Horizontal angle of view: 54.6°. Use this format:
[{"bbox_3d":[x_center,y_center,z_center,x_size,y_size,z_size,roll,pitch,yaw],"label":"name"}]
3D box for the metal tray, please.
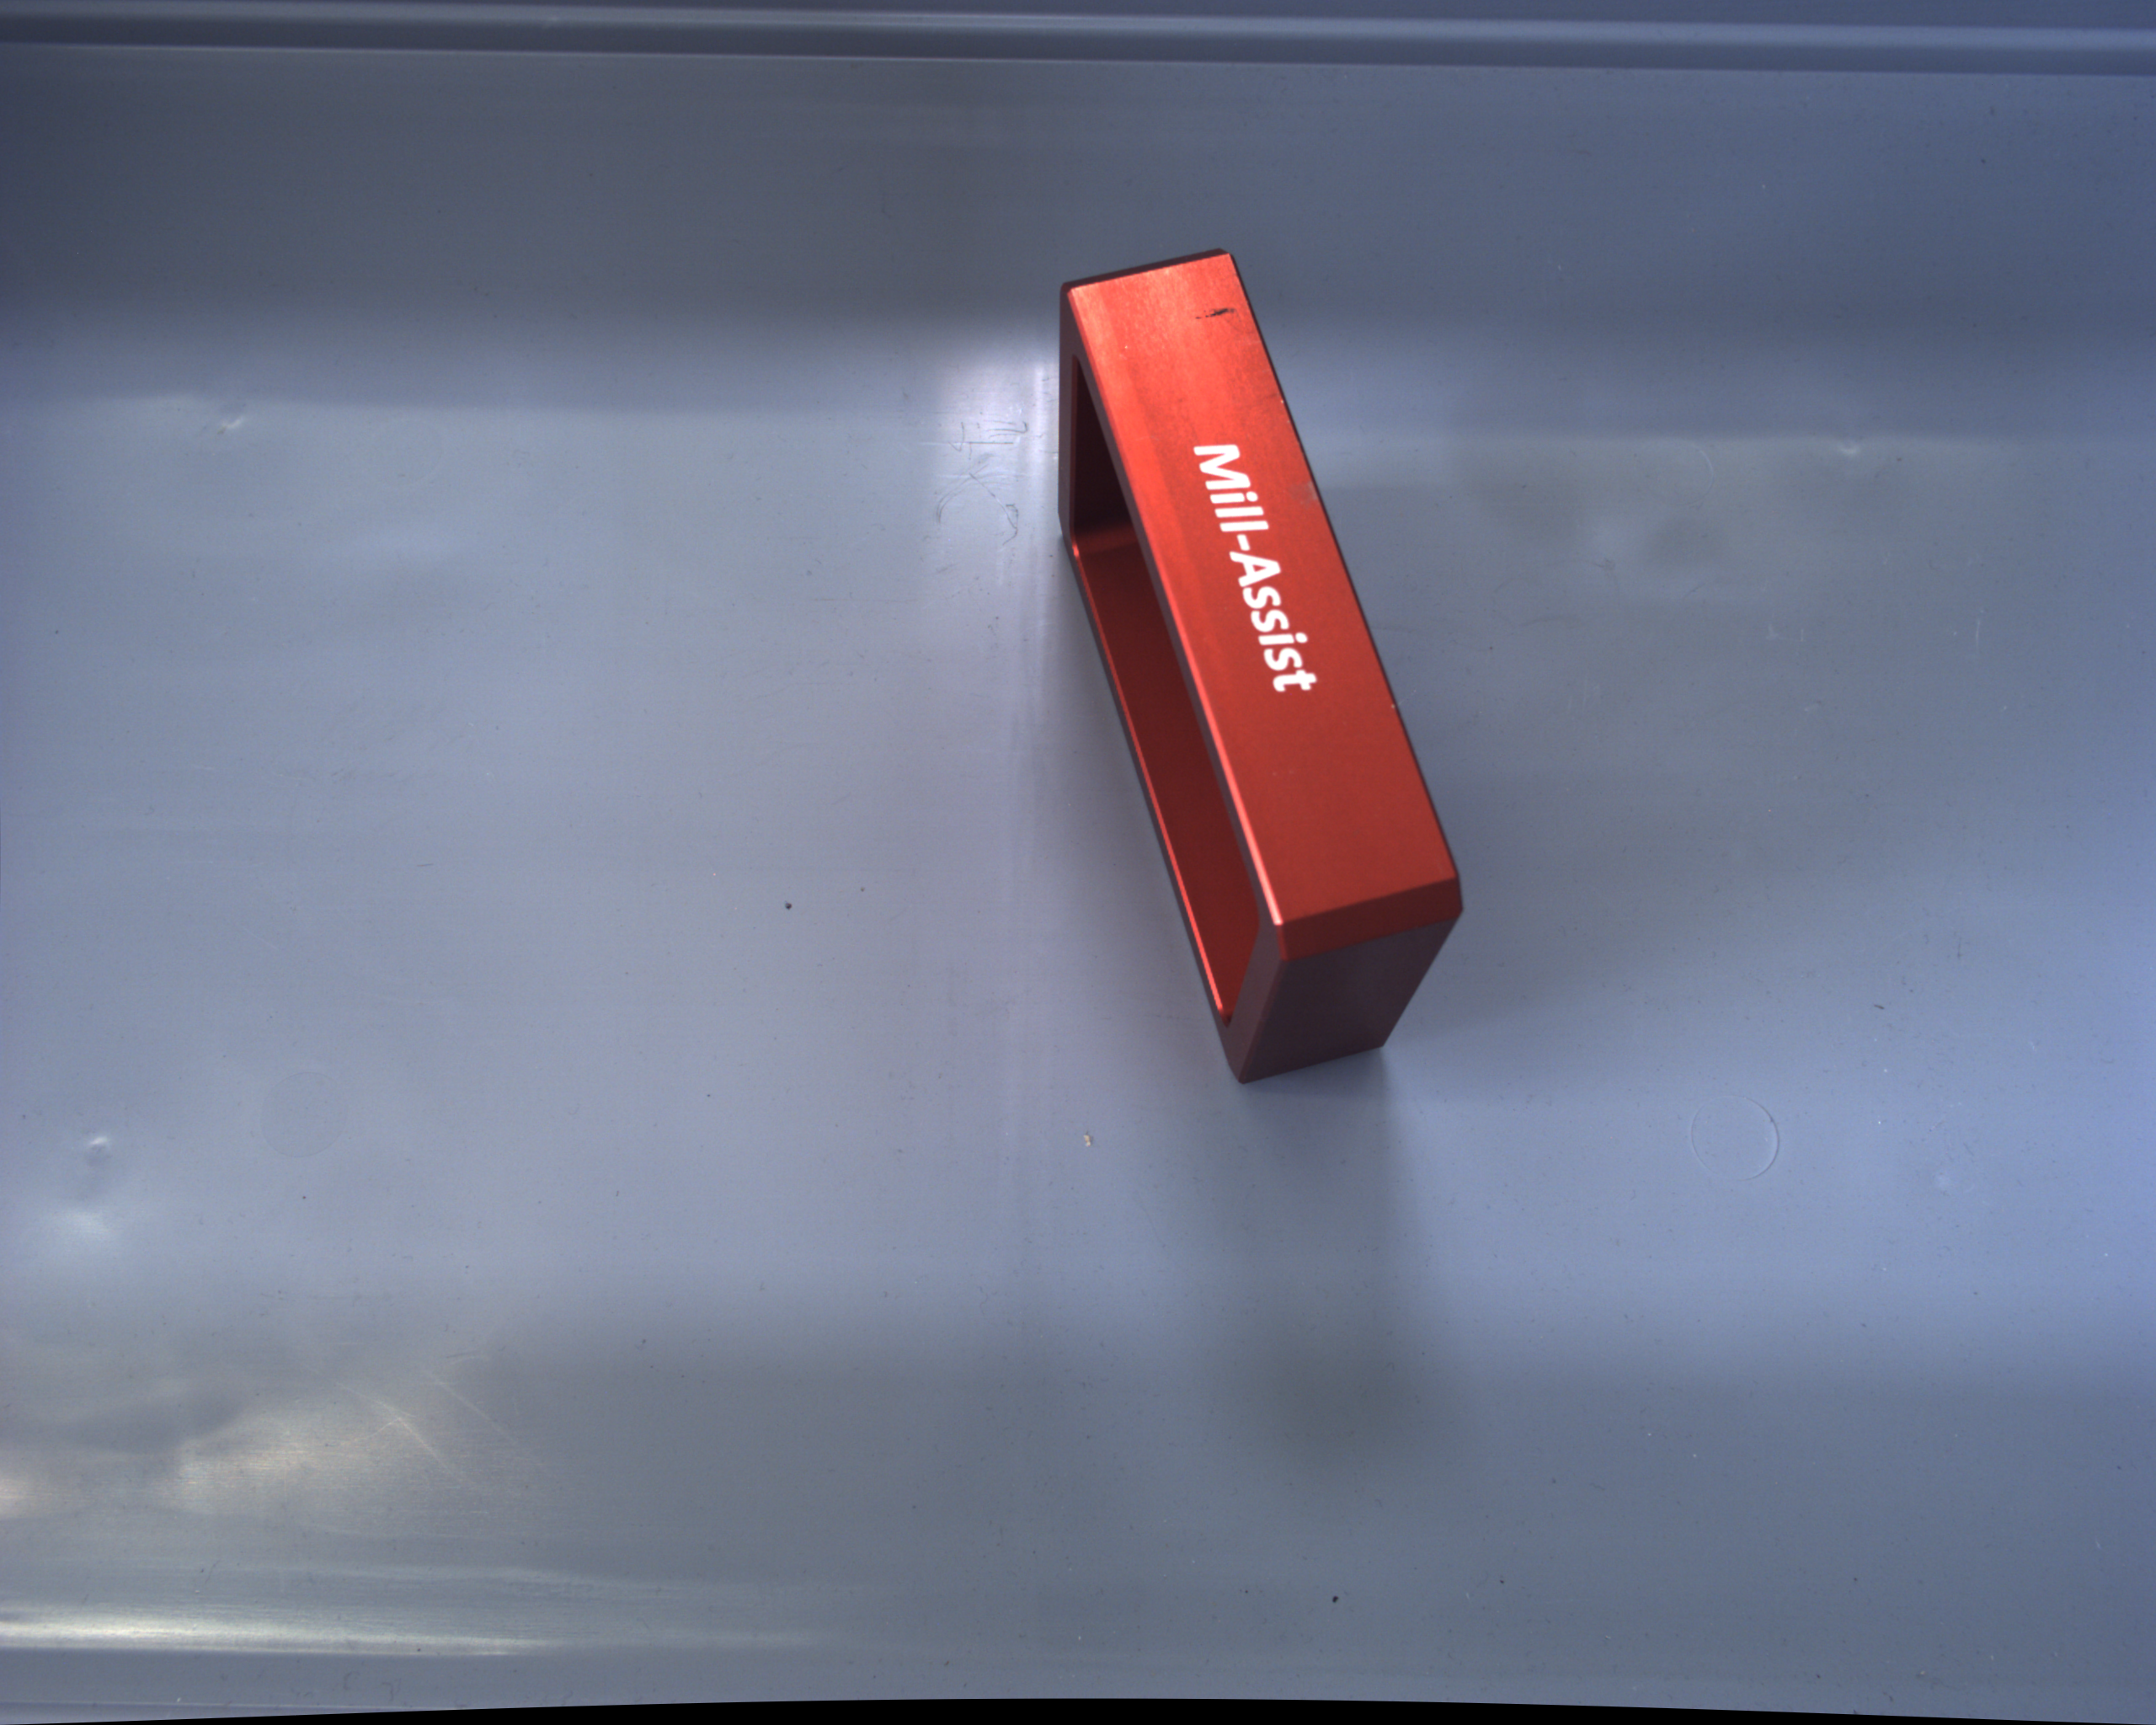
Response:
[{"bbox_3d":[0.028,-0.033,0.385,0.030,0.090,0.130,-15,71,-6],"label":"metal tray"}]
